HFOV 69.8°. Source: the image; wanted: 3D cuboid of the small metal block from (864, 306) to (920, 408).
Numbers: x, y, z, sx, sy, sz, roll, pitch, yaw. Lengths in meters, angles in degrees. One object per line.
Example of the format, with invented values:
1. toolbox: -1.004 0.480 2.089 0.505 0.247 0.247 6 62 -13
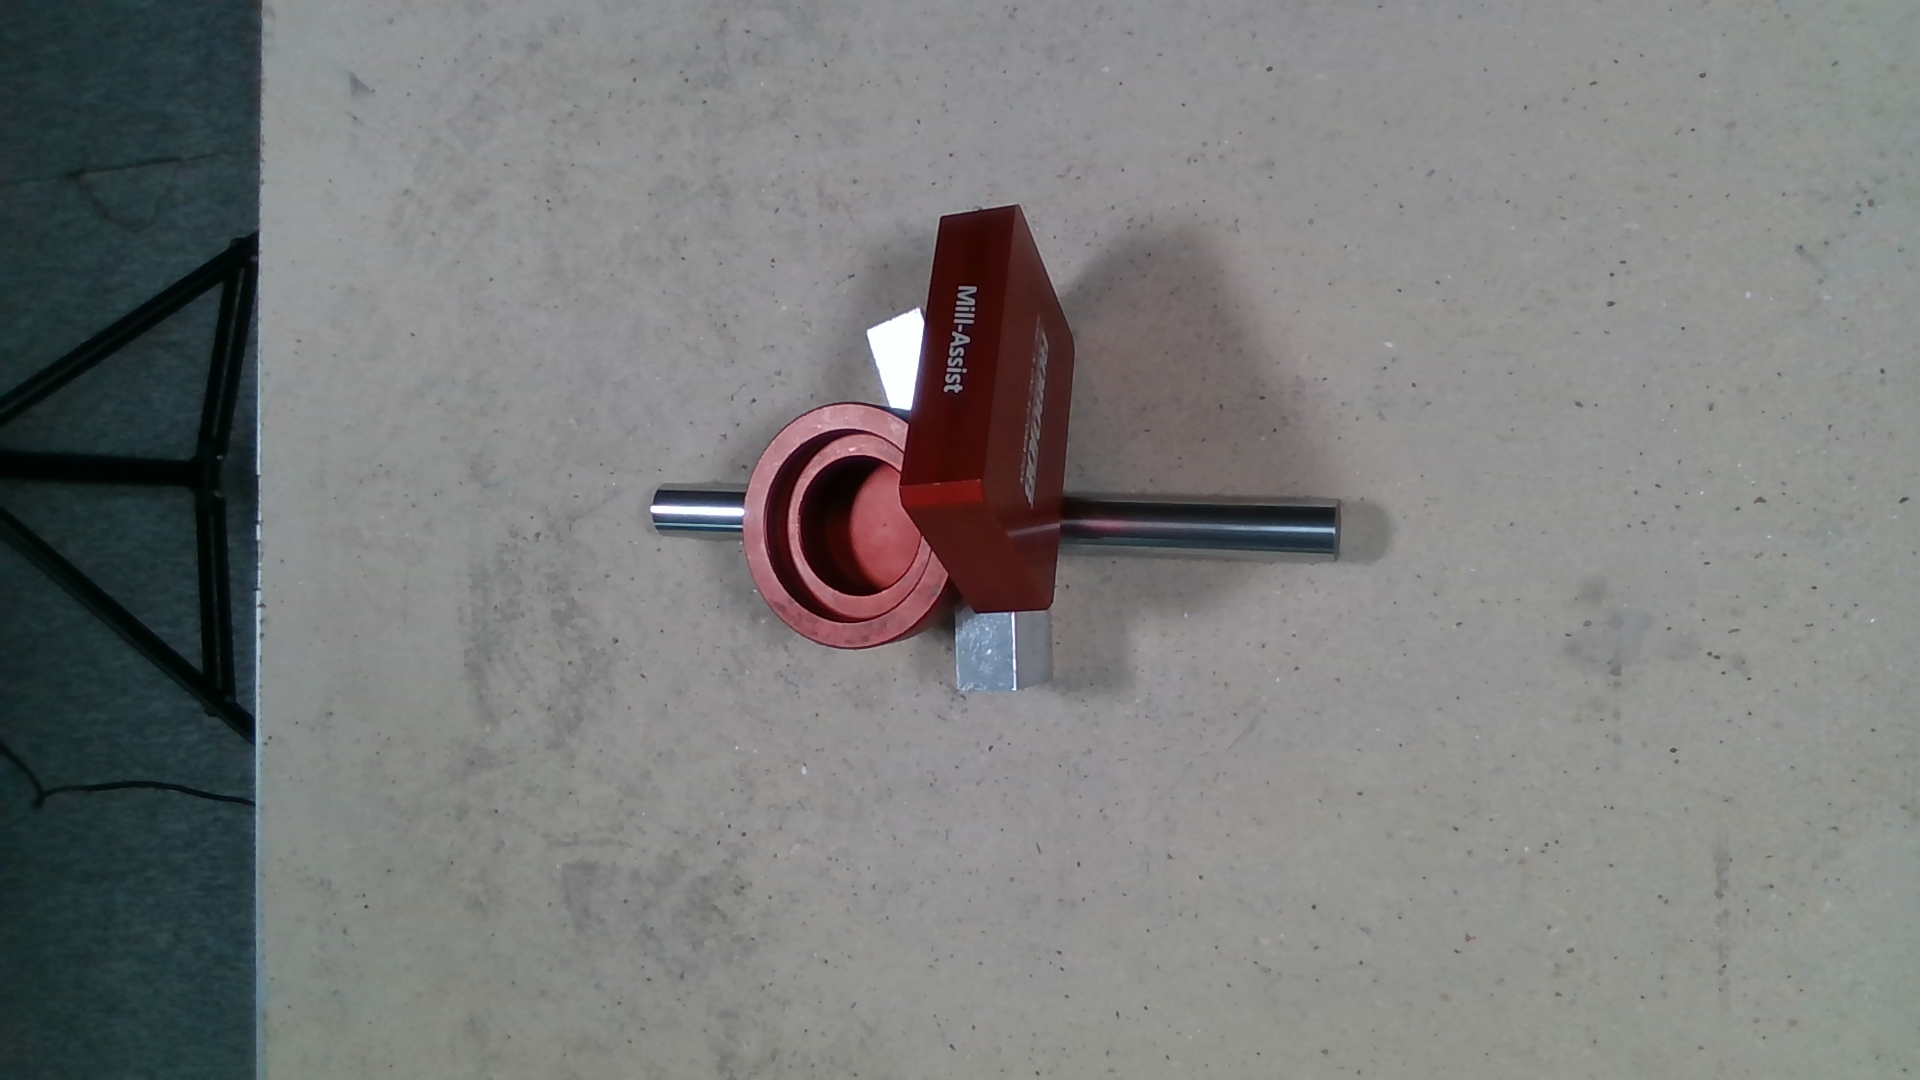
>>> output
1. small metal block: -0.011 -0.066 0.576 0.025 0.050 0.050 -20 83 19

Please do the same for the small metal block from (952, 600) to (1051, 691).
1. small metal block: 0.017 0.035 0.566 0.025 0.050 0.050 -2 90 20

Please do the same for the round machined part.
1. round machined part: -0.037 -0.006 0.561 0.098 0.042 0.098 1 93 24

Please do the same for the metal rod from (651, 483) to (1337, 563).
1. metal rod: 0.005 -0.009 0.584 0.300 0.025 0.025 2 91 20

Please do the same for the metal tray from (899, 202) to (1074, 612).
1. metal tray: 0.014 -0.049 0.521 0.030 0.090 0.130 -4 60 19
